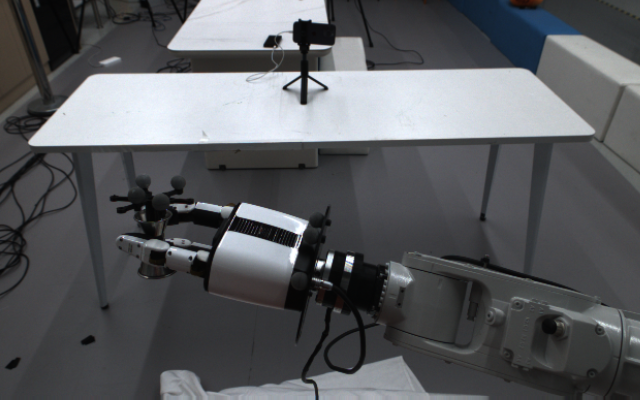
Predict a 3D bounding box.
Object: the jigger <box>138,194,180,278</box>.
[{"bbox_3d":[-0.182,0.047,0.545,0.043,0.071,0.043,2,20,-1],"label":"jigger"}]
